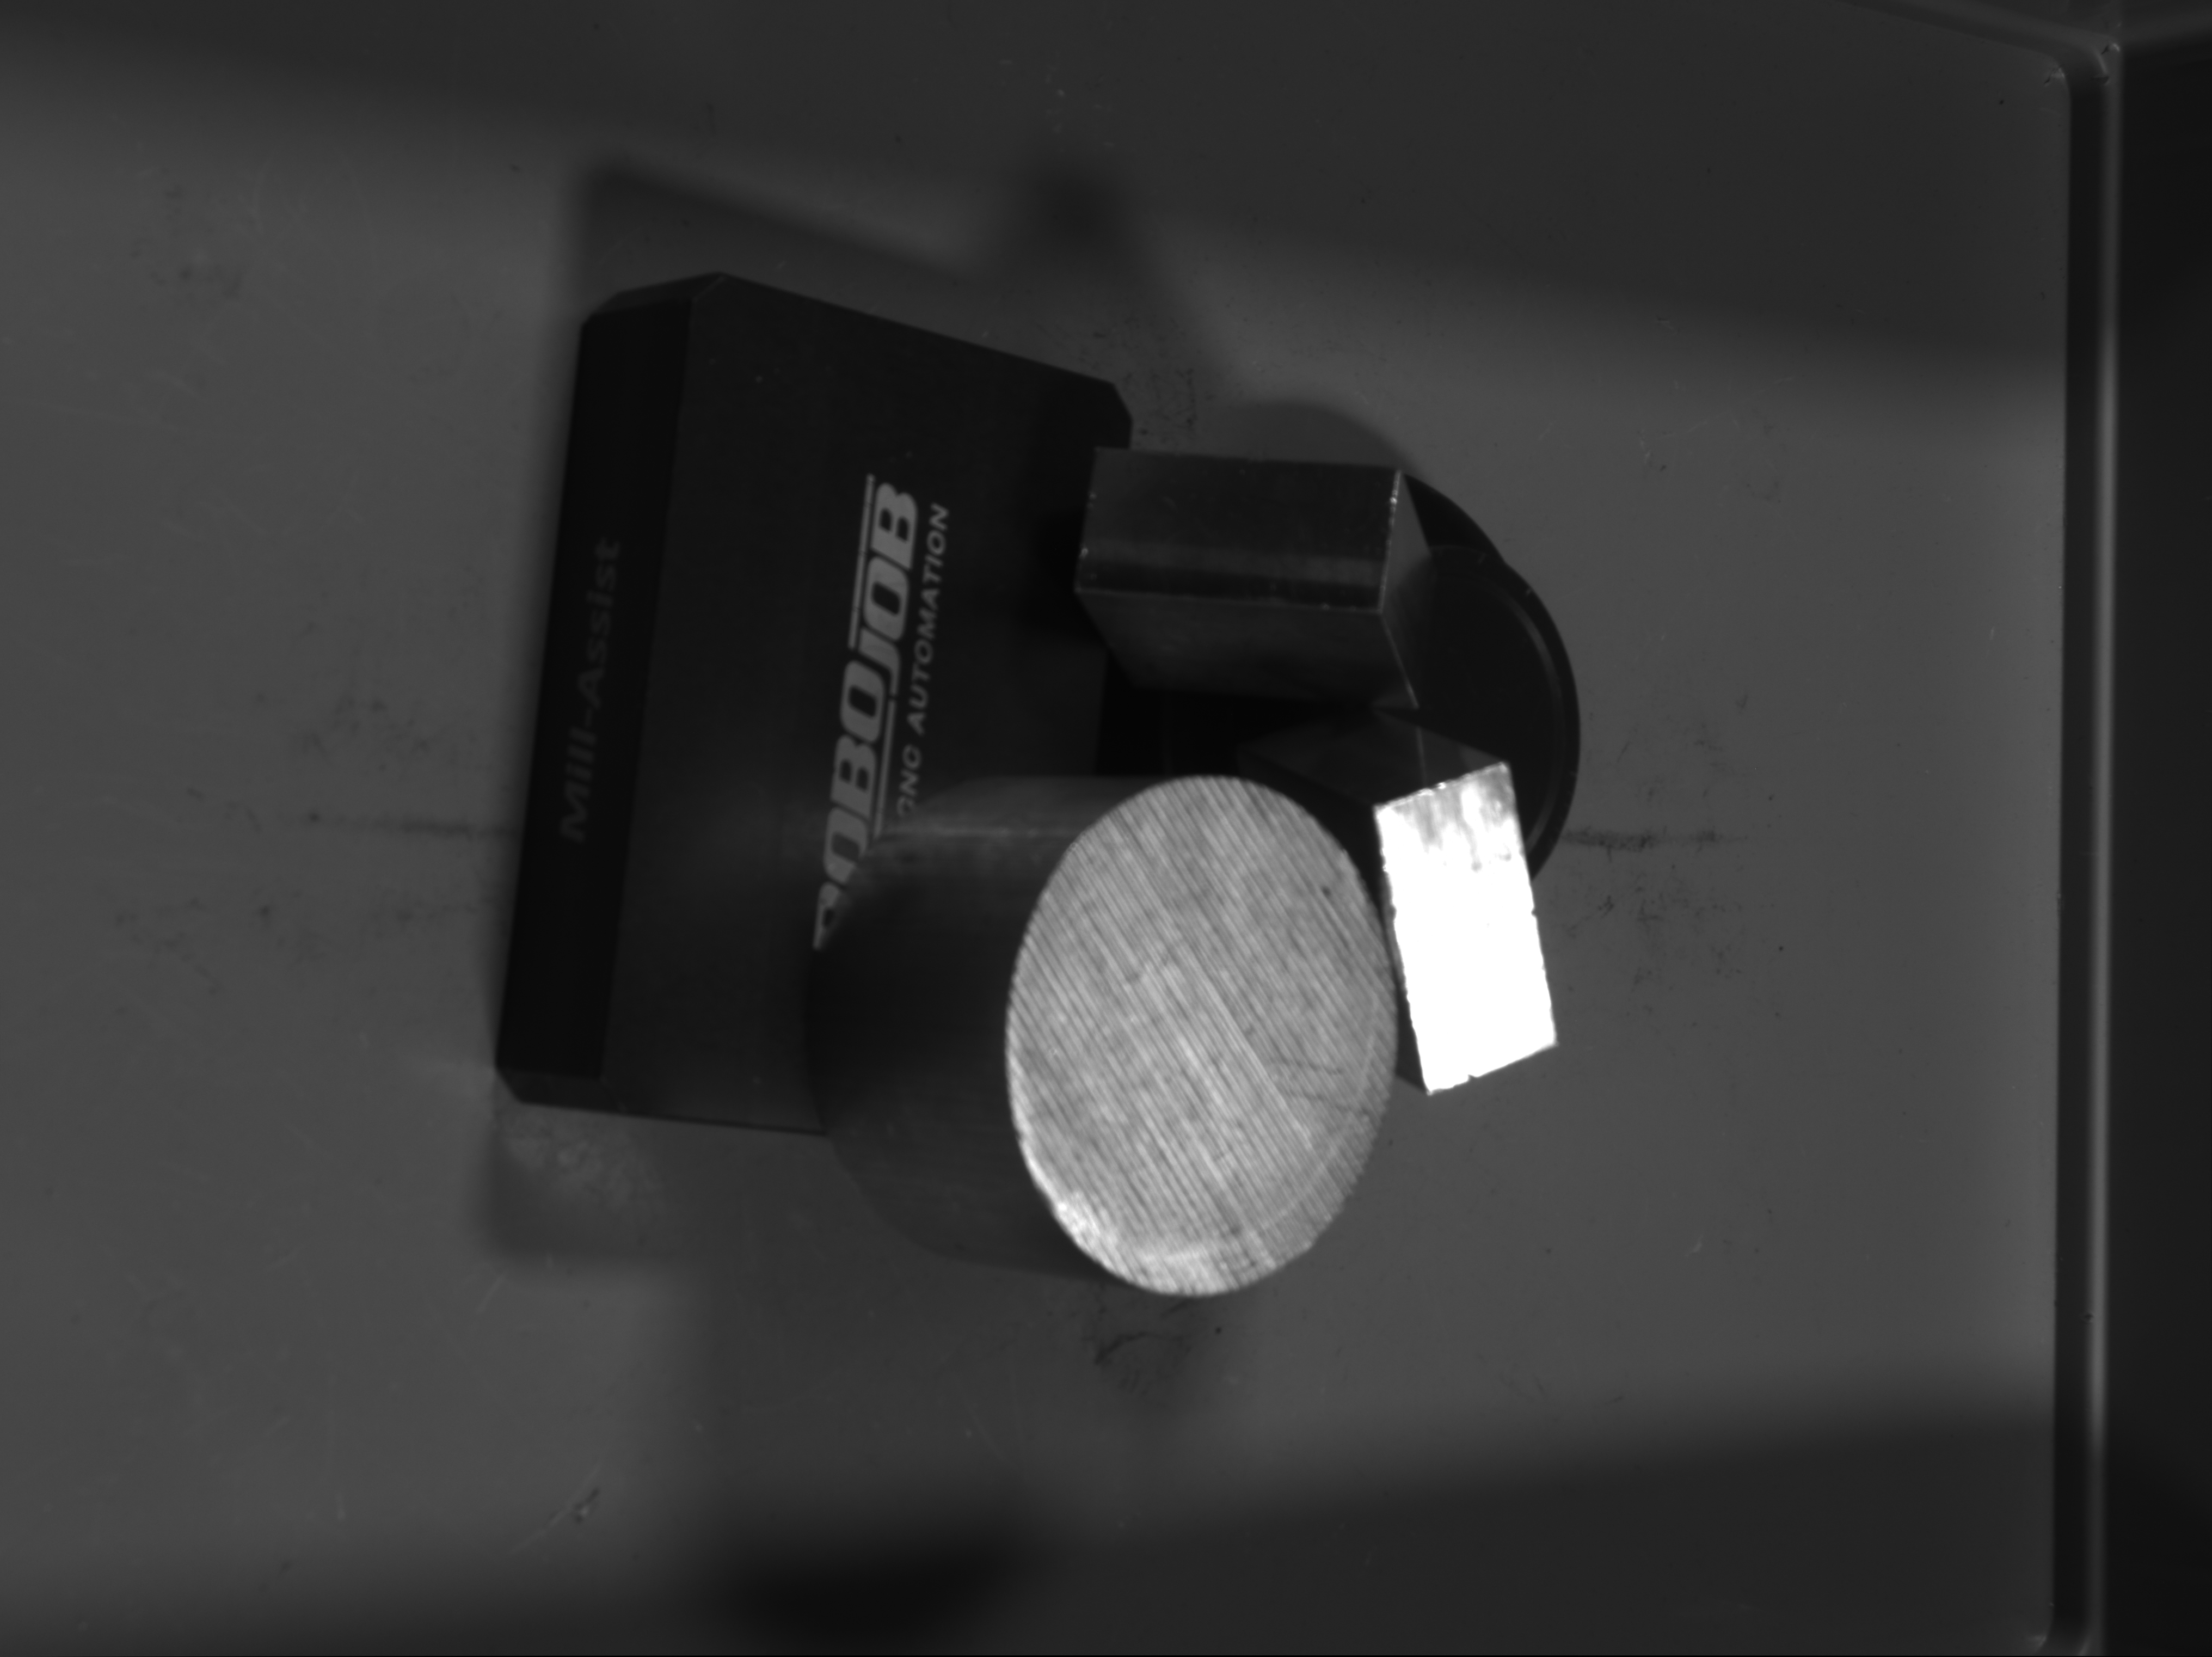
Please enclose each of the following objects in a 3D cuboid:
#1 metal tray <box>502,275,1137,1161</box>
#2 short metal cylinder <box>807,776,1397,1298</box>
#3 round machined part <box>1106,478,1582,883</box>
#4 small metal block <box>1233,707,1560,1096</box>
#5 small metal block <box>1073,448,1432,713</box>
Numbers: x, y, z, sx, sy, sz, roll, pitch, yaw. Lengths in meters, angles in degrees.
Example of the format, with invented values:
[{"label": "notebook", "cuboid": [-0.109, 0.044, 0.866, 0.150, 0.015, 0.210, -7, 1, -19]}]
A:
[{"label": "metal tray", "cuboid": [-0.044, -0.015, 0.593, 0.090, 0.030, 0.130, 10, 83, -39]}, {"label": "short metal cylinder", "cuboid": [0.000, 0.032, 0.580, 0.080, 0.050, 0.080, 0, 90, -40]}, {"label": "round machined part", "cuboid": [0.048, -0.017, 0.664, 0.098, 0.042, 0.098, 0, 90, -40]}, {"label": "small metal block", "cuboid": [0.048, 0.011, 0.609, 0.025, 0.050, 0.050, -19, 109, -19]}, {"label": "small metal block", "cuboid": [0.026, -0.041, 0.608, 0.050, 0.050, 0.025, 53, 44, -70]}]
